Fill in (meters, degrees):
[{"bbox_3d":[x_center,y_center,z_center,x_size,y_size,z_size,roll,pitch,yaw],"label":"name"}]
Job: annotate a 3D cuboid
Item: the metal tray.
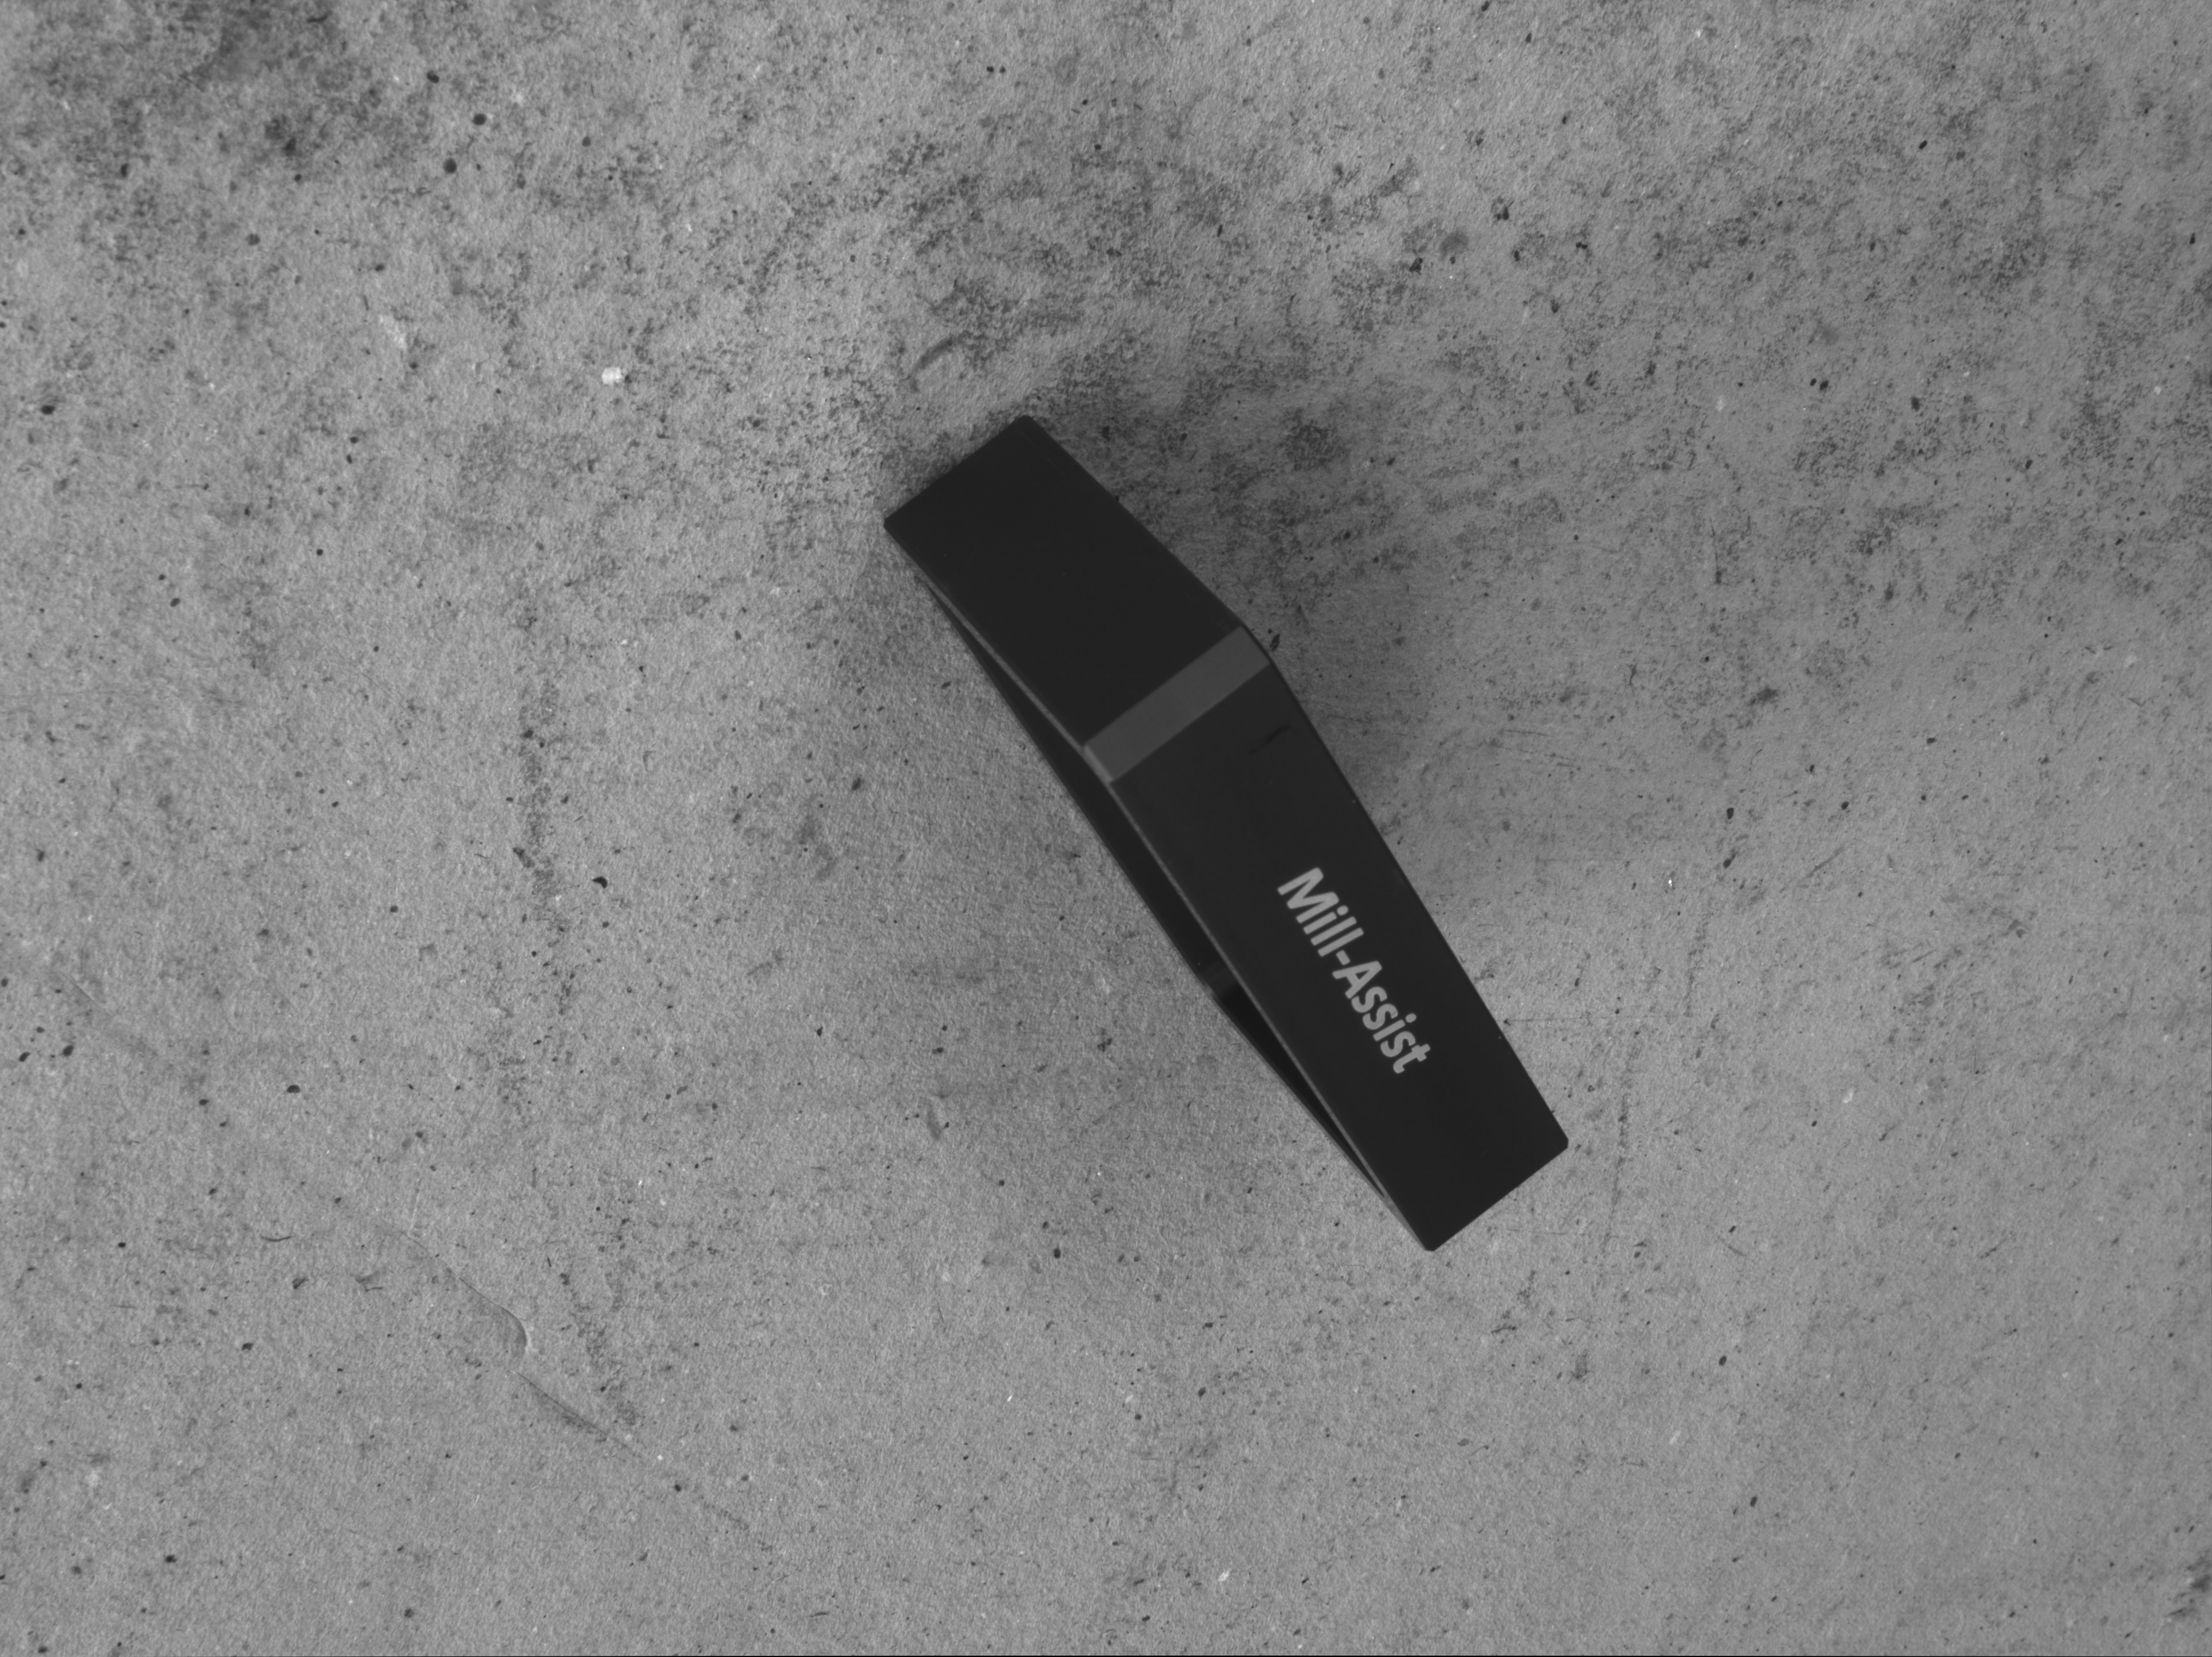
[{"bbox_3d":[0.020,0.002,0.608,0.030,0.090,0.130,-37,129,-3],"label":"metal tray"}]
